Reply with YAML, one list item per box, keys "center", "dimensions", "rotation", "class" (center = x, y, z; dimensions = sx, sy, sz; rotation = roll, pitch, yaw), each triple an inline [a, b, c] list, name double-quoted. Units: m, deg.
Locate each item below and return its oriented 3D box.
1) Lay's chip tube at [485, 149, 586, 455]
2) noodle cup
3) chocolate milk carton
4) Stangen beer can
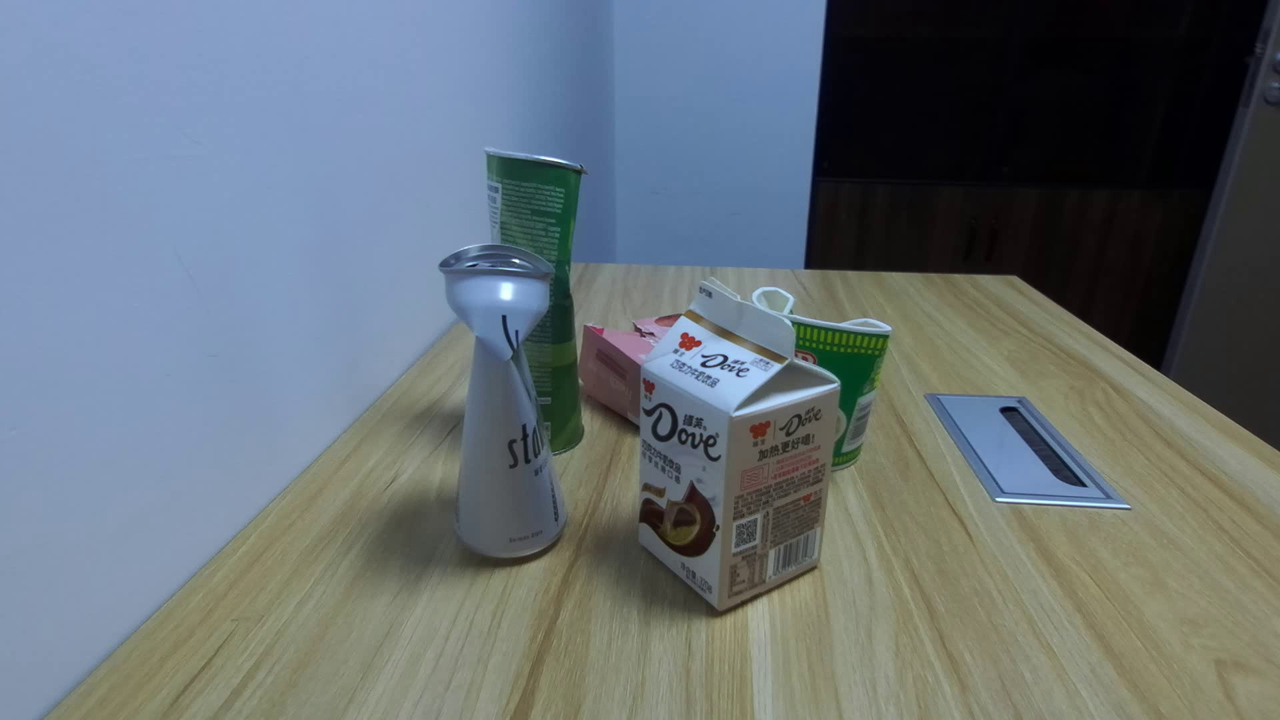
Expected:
- center: [-0.074, -0.037, 0.479]
  dimensions: [0.077, 0.201, 0.069]
  rotation: [6, 22, 8]
  class: "Lay's chip tube"
- center: [0.118, 0.010, 0.476]
  dimensions: [0.075, 0.122, 0.082]
  rotation: [-9, 34, 2]
  class: "noodle cup"
- center: [0.049, 0.037, 0.360]
  dimensions: [0.074, 0.148, 0.075]
  rotation: [-13, 25, -32]
  class: "chocolate milk carton"
- center: [-0.073, 0.025, 0.379]
  dimensions: [0.076, 0.162, 0.066]
  rotation: [18, 27, 37]
  class: "Stangen beer can"
